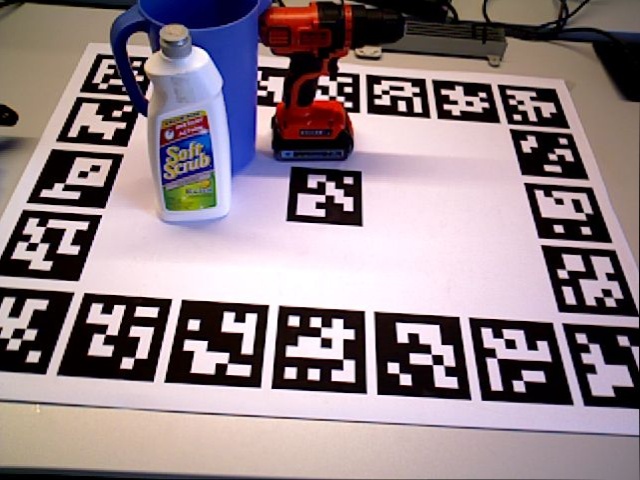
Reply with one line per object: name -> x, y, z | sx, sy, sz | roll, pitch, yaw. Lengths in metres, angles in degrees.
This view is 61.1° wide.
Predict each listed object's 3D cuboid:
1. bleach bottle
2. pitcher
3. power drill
bleach bottle -> -0.155, -0.136, 0.589 | 0.102, 0.256, 0.067 | -3, 55, -6
pitcher -> -0.144, -0.205, 0.663 | 0.186, 0.248, 0.132 | -19, 59, -17
power drill -> 0.022, -0.205, 0.686 | 0.183, 0.191, 0.056 | 2, 57, -10
